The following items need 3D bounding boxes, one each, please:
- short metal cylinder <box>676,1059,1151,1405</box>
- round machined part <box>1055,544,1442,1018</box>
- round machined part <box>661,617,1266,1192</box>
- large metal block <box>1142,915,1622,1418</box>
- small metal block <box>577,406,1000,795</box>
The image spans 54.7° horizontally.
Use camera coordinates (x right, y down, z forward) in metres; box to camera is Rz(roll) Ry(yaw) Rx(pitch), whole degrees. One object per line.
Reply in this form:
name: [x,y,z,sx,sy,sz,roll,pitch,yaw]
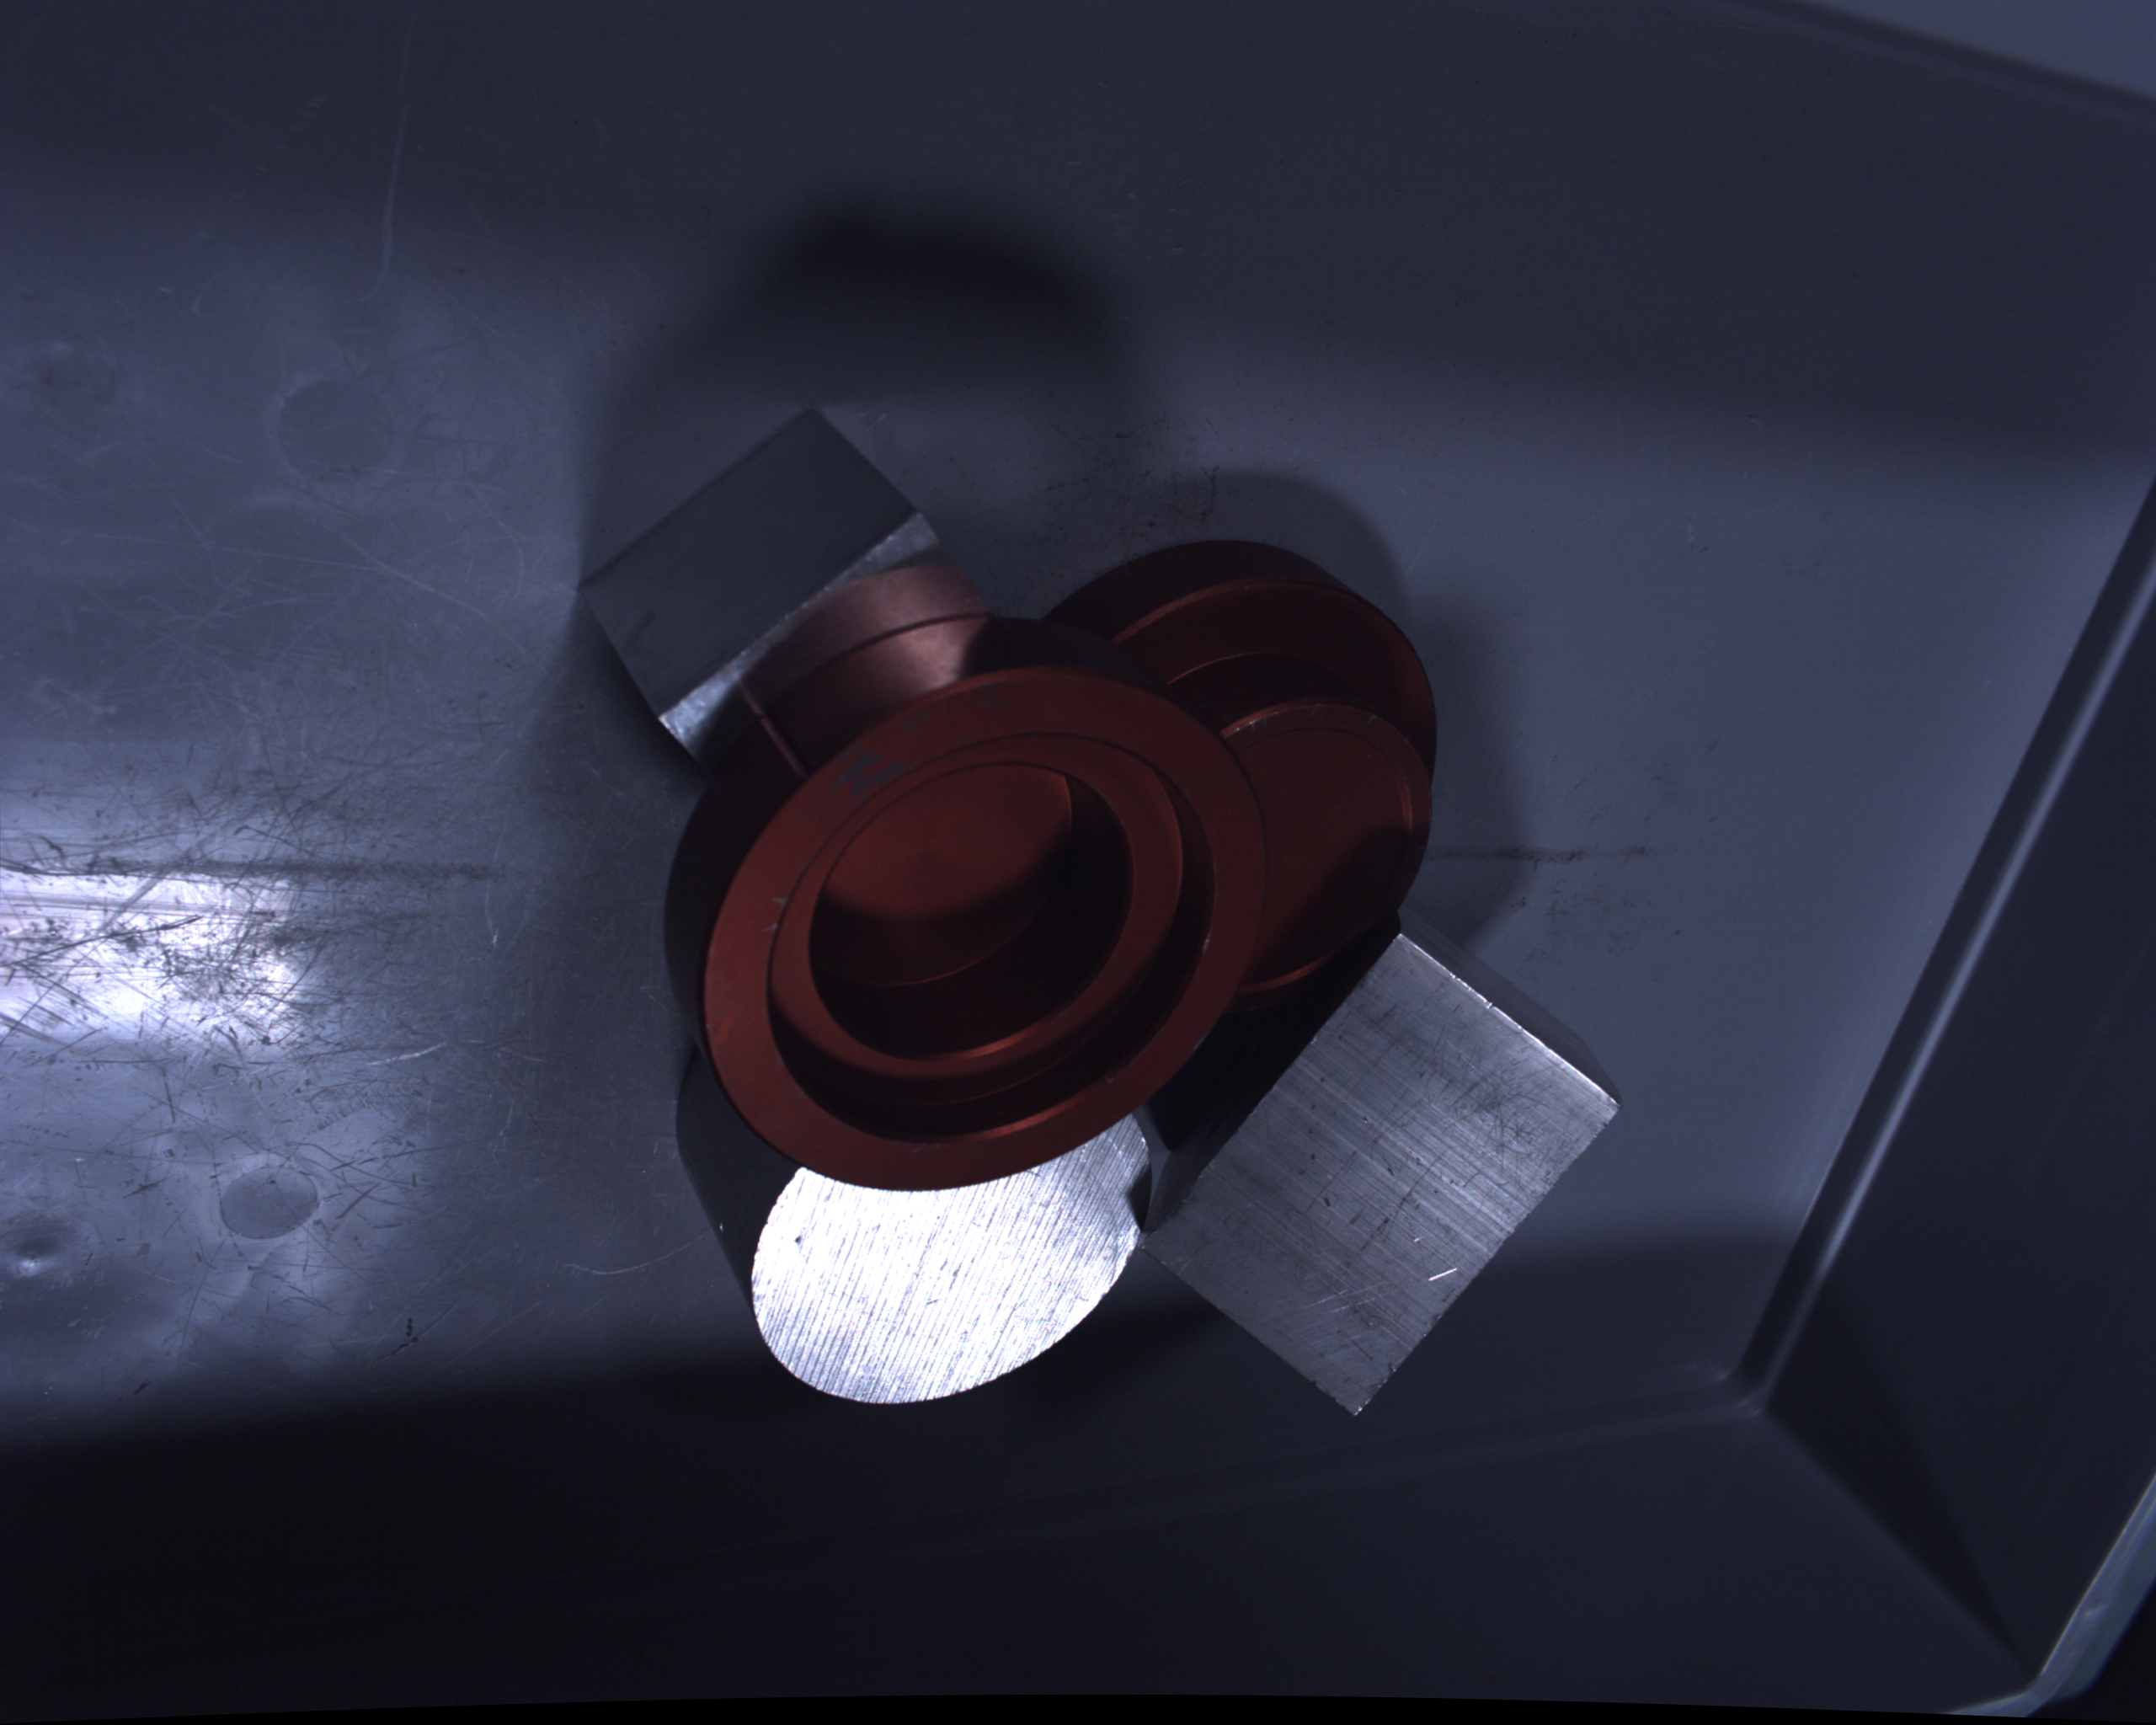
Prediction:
short metal cylinder: [-0.033,0.059,0.410,0.081,0.050,0.079,-14,125,-21]
round machined part: [0.030,-0.009,0.406,0.099,0.042,0.097,-14,125,-21]
round machined part: [-0.022,0.004,0.350,0.099,0.042,0.097,-14,125,-21]
large metal block: [0.061,0.056,0.432,0.050,0.080,0.080,39,97,2]
small metal block: [-0.048,-0.042,0.339,0.050,0.050,0.025,-39,130,-2]
